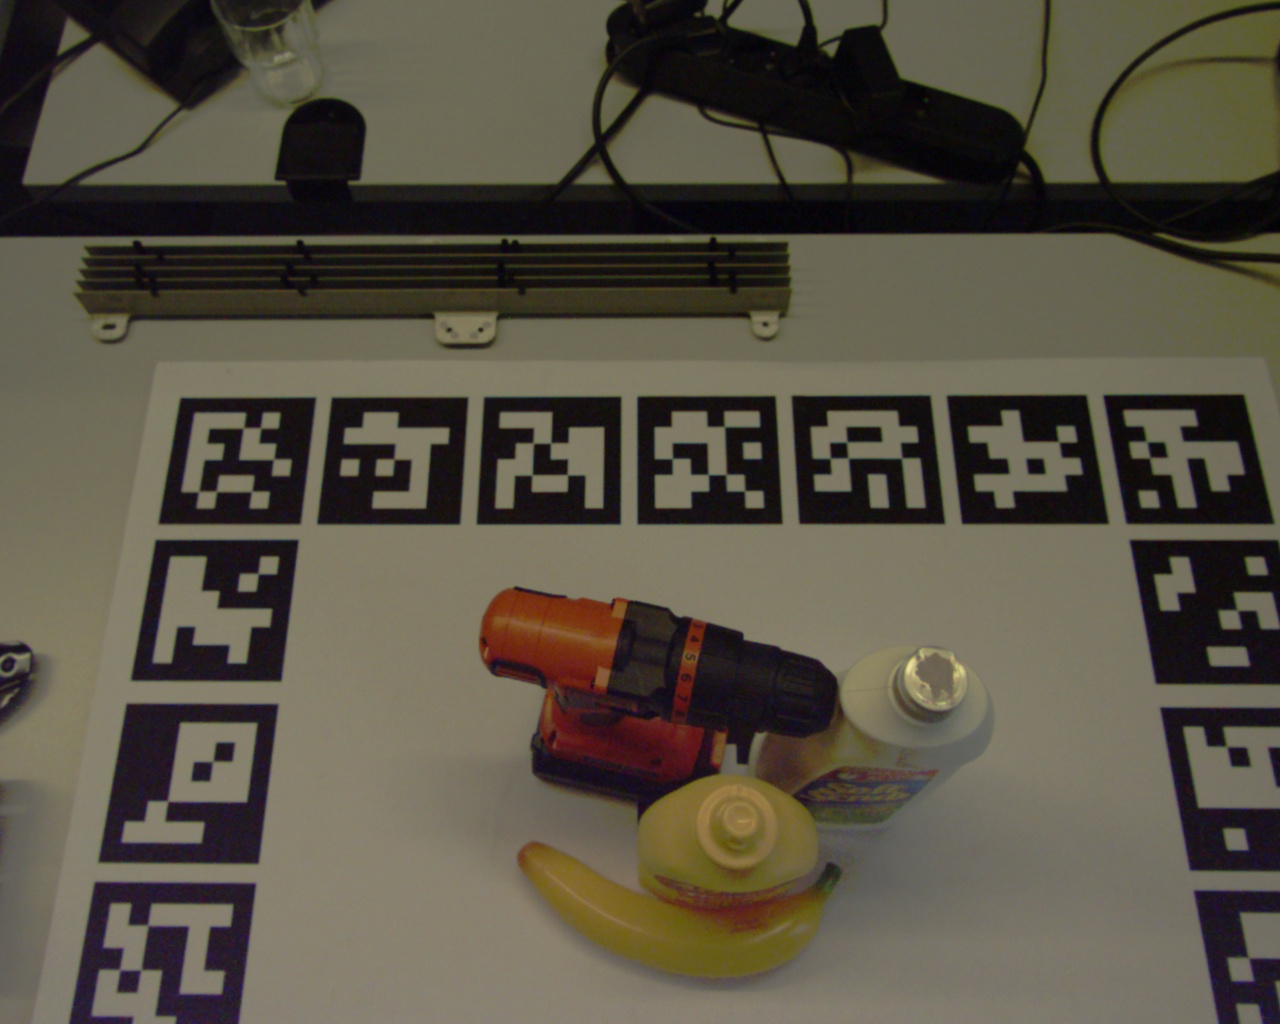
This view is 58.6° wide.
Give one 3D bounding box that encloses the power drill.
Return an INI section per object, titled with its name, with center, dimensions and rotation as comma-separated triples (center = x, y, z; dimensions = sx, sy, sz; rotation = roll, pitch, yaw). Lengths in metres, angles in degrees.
[power drill]
center = 0.011, 0.112, 0.653
dimensions = 0.185, 0.186, 0.057
rotation = 12, 68, 4

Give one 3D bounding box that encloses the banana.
[banana]
center = 0.030, 0.245, 0.713
dimensions = 0.198, 0.038, 0.074
rotation = 4, 69, 5

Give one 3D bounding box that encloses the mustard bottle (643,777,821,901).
[mustard bottle]
center = 0.051, 0.186, 0.644
dimensions = 0.096, 0.191, 0.058
rotation = 1, 68, 0

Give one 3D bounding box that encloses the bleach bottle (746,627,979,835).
[bleach bottle]
center = 0.122, 0.123, 0.642
dimensions = 0.103, 0.250, 0.068
rotation = 3, 63, 1
